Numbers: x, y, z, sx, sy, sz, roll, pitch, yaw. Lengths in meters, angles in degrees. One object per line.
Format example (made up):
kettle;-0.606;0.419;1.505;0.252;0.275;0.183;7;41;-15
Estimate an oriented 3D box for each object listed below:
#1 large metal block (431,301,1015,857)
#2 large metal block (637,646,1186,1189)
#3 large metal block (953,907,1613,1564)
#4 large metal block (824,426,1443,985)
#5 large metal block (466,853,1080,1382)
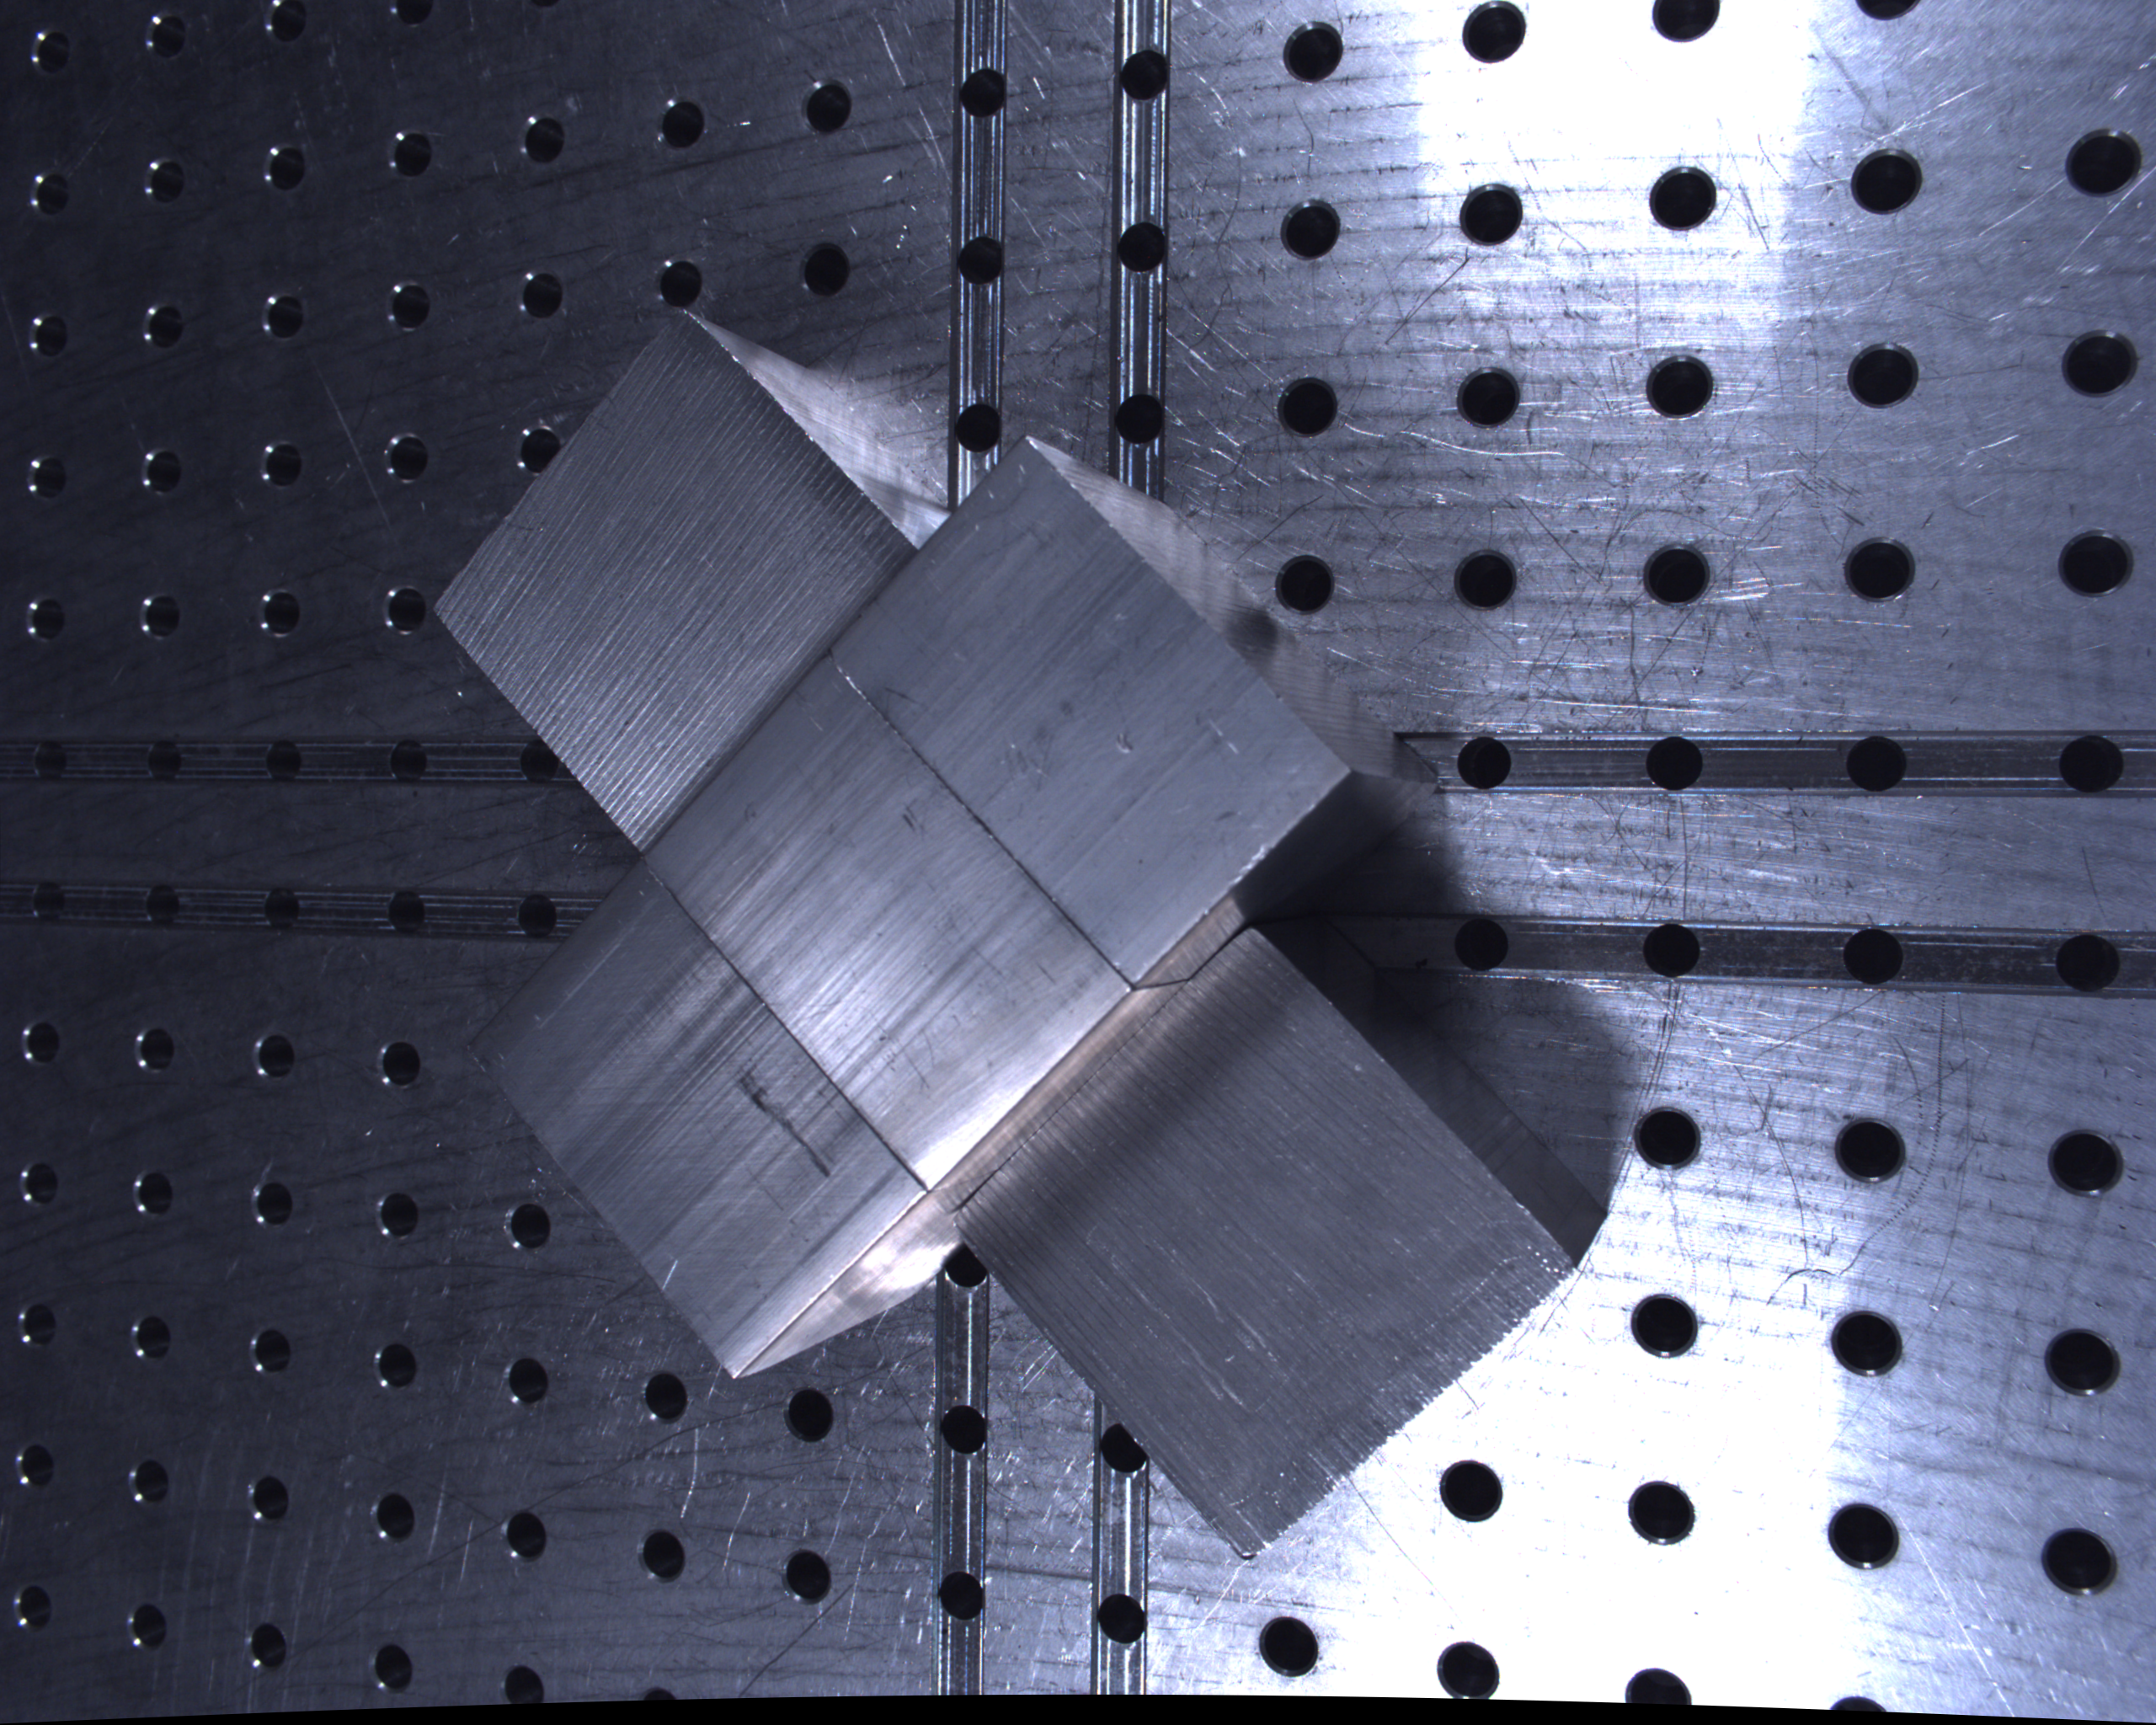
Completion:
large metal block;-0.066;-0.050;0.419;0.080;0.050;0.080;47;105;13
large metal block;-0.021;0.009;0.390;0.050;0.080;0.080;-46;76;14
large metal block;0.039;0.065;0.385;0.080;0.050;0.080;-46;76;15
large metal block;0.014;-0.026;0.378;0.050;0.080;0.080;-46;76;14
large metal block;-0.054;0.044;0.402;0.050;0.080;0.080;-46;76;14
